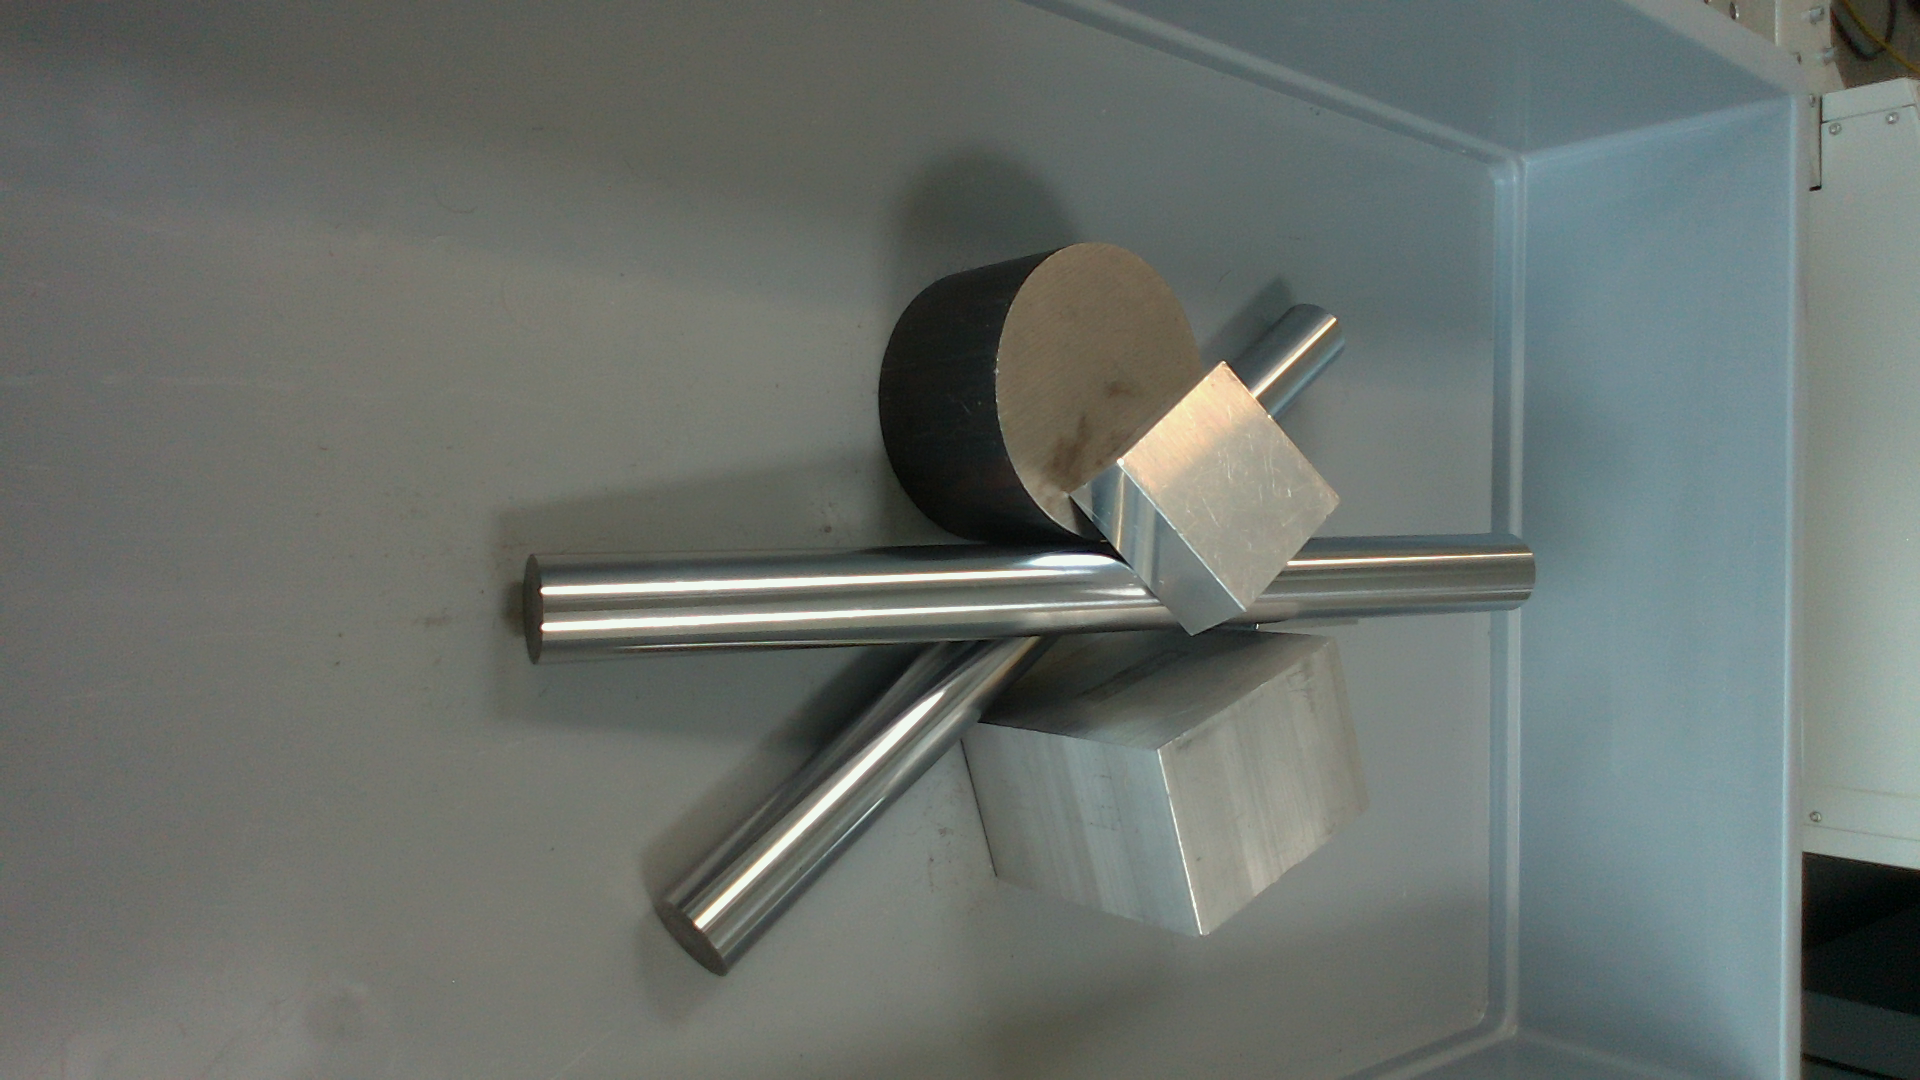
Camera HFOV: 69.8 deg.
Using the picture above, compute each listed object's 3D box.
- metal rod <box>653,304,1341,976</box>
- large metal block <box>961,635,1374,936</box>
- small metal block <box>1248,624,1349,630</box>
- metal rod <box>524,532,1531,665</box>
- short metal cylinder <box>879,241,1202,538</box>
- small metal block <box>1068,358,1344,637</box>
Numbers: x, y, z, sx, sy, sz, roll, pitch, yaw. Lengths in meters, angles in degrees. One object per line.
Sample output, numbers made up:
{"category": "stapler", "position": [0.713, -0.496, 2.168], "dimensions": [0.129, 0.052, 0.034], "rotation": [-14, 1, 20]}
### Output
{"category": "metal rod", "position": [0.030, 0.012, 0.413], "dimensions": [0.301, 0.025, 0.025], "rotation": [-42, 115, -32]}
{"category": "large metal block", "position": [0.059, 0.065, 0.400], "dimensions": [0.080, 0.080, 0.050], "rotation": [-23, 105, -37]}
{"category": "small metal block", "position": [0.093, 0.015, 0.449], "dimensions": [0.050, 0.050, 0.025], "rotation": [0, 90, -39]}
{"category": "metal rod", "position": [0.039, 0.013, 0.374], "dimensions": [0.301, 0.025, 0.025], "rotation": [-1, 91, -27]}
{"category": "short metal cylinder", "position": [0.024, -0.040, 0.391], "dimensions": [0.080, 0.050, 0.080], "rotation": [1, 89, -40]}
{"category": "small metal block", "position": [0.066, -0.011, 0.367], "dimensions": [0.050, 0.025, 0.050], "rotation": [49, 59, -3]}
